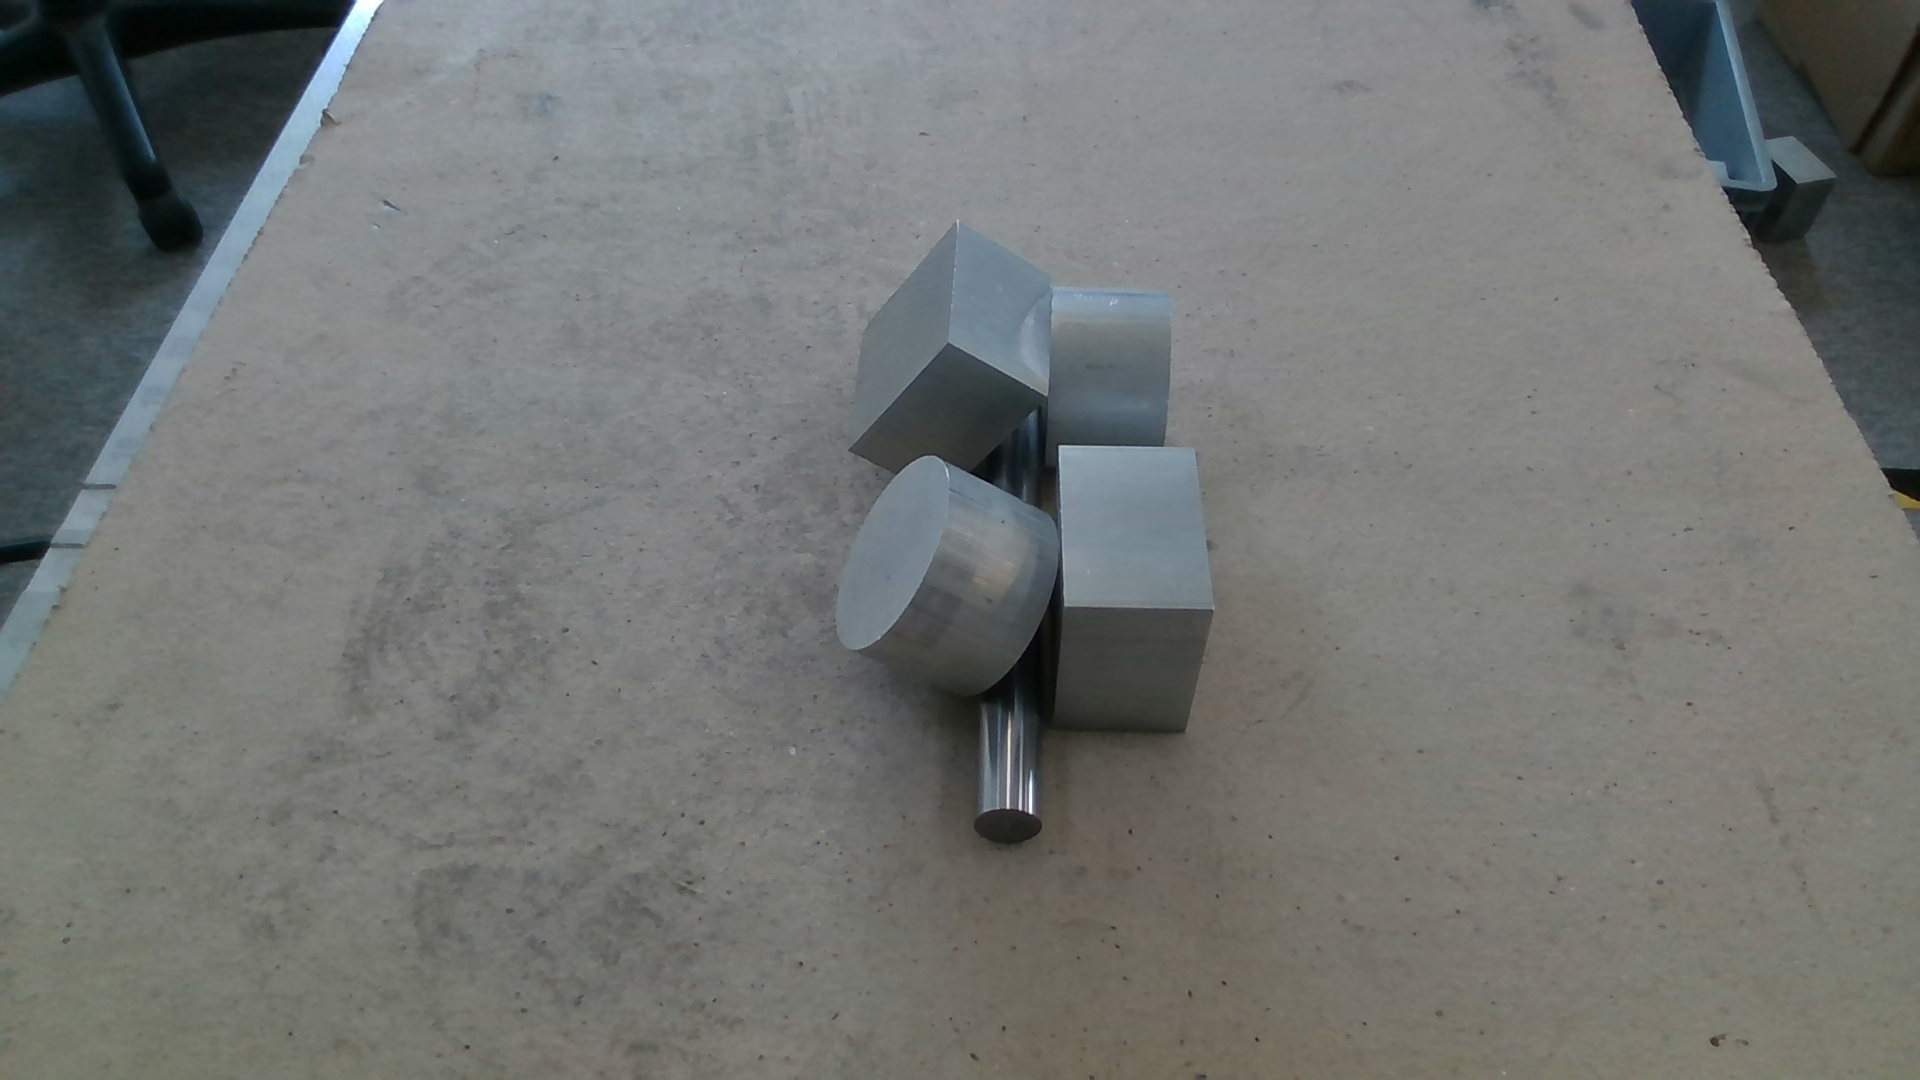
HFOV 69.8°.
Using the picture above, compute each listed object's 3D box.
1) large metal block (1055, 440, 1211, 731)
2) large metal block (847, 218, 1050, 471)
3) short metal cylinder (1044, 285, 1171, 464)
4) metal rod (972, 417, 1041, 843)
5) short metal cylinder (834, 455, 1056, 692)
[{"bbox_3d":[0.063,0.018,0.536,0.050,0.080,0.080,1,50,1],"label":"large metal block"},{"bbox_3d":[-0.004,-0.079,0.610,0.050,0.080,0.080,25,46,-24],"label":"large metal block"},{"bbox_3d":[0.064,-0.073,0.612,0.050,0.080,0.080,3,50,2],"label":"short metal cylinder"},{"bbox_3d":[0.023,-0.010,0.598,0.025,0.025,0.299,2,50,1],"label":"metal rod"},{"bbox_3d":[-0.007,0.014,0.532,0.050,0.080,0.080,25,45,-25],"label":"short metal cylinder"}]
